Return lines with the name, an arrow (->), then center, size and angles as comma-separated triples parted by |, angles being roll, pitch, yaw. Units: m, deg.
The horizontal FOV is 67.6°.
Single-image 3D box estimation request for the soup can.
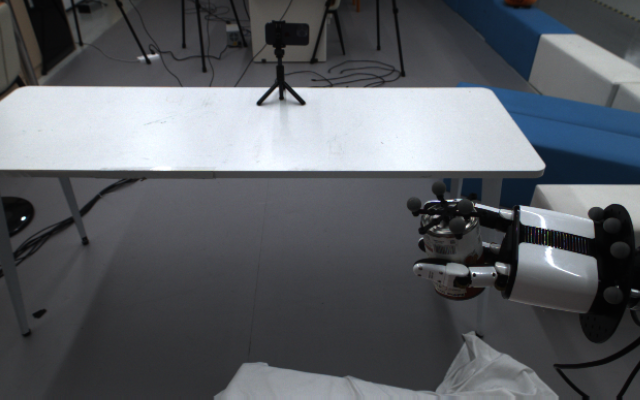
soup can -> 0.164, 0.060, 0.584 | 0.067, 0.101, 0.067 | -13, 31, 8
